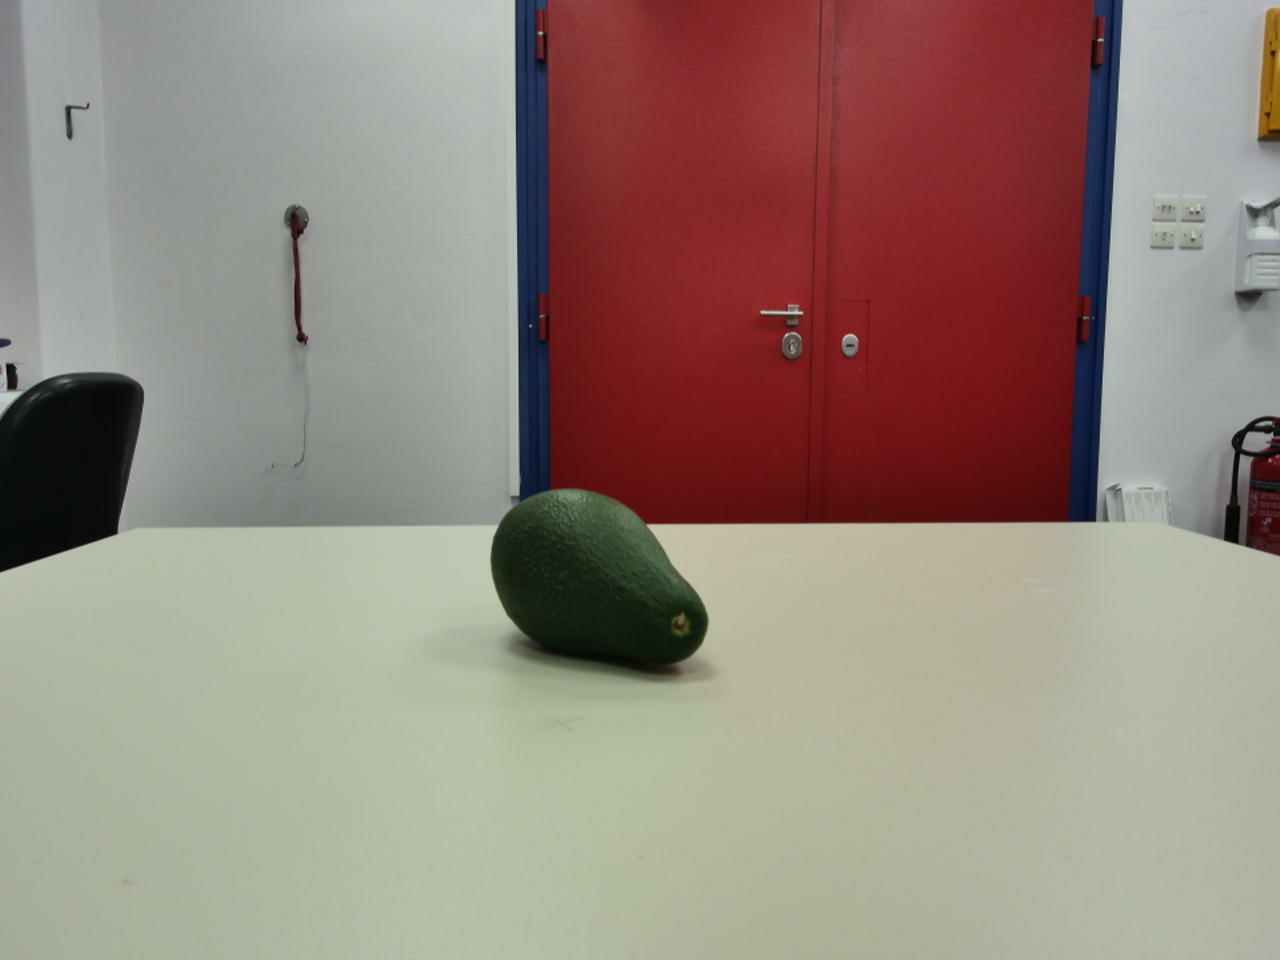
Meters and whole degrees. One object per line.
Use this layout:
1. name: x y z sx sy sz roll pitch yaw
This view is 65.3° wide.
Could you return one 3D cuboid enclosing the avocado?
1. avocado: -0.022 0.040 0.429 0.072 0.071 0.110 -1 4 -23
